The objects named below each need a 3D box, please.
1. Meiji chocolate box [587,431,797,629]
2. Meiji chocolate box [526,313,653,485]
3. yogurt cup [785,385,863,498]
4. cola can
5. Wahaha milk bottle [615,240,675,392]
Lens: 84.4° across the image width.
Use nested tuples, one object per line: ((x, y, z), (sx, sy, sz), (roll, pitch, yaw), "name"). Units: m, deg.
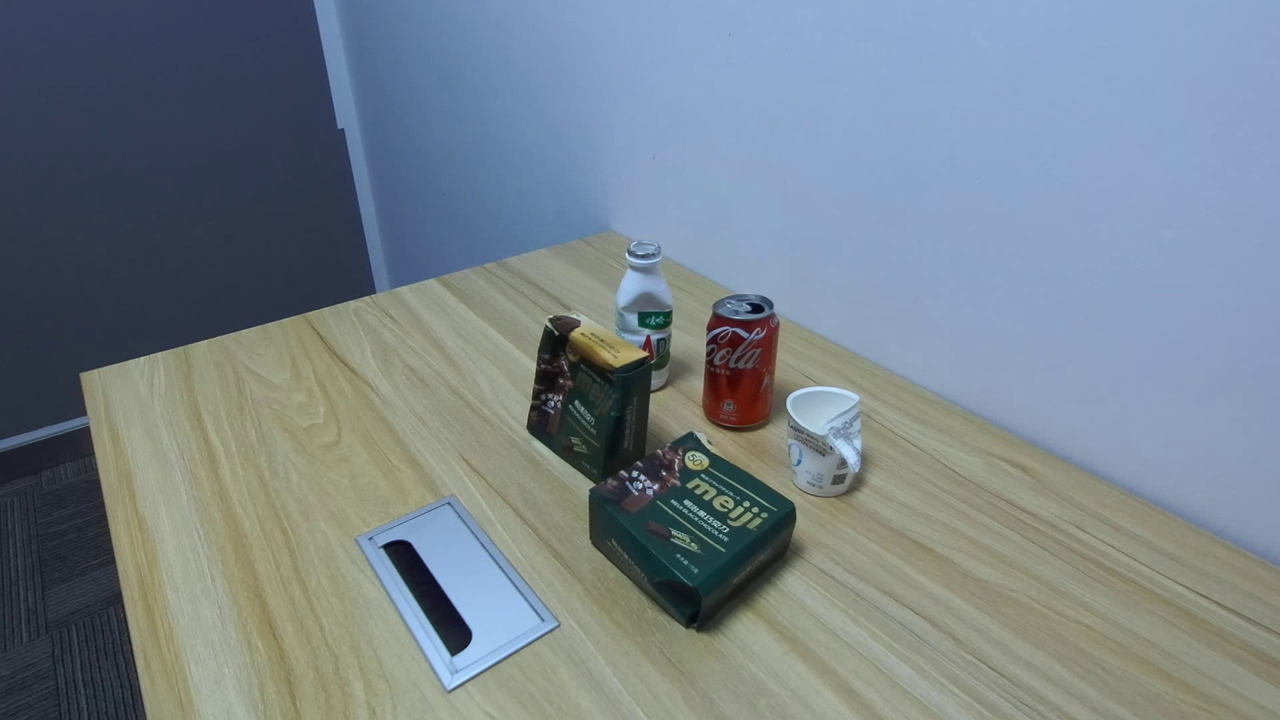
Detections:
((0.038, 0.120, 0.515), (0.123, 0.058, 0.115), (-26, 43, -35), "Meiji chocolate box")
((-0.042, 0.030, 0.602), (0.052, 0.117, 0.116), (-17, 35, -41), "Meiji chocolate box")
((0.150, 0.068, 0.582), (0.067, 0.070, 0.067), (-1, 32, 1), "yogurt cup")
((0.092, 0.002, 0.645), (0.065, 0.117, 0.072), (27, 40, 35), "cola can")
((0.004, -0.040, 0.679), (0.056, 0.148, 0.056), (2, 33, -1), "Wahaha milk bottle")
